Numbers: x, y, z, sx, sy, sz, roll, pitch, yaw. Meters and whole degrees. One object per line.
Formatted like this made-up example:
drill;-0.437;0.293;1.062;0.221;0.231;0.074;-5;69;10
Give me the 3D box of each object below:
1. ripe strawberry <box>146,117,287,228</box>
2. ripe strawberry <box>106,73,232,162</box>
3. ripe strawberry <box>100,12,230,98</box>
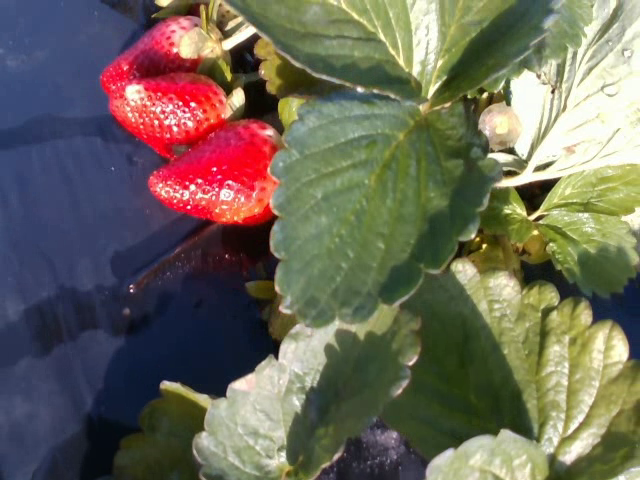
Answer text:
ripe strawberry;-0.035;-0.018;0.183;0.041;0.035;0.034;-8;-36;-35
ripe strawberry;-0.048;-0.042;0.193;0.039;0.031;0.037;11;-36;-42
ripe strawberry;-0.057;-0.062;0.212;0.046;0.032;0.023;-25;-28;-3
